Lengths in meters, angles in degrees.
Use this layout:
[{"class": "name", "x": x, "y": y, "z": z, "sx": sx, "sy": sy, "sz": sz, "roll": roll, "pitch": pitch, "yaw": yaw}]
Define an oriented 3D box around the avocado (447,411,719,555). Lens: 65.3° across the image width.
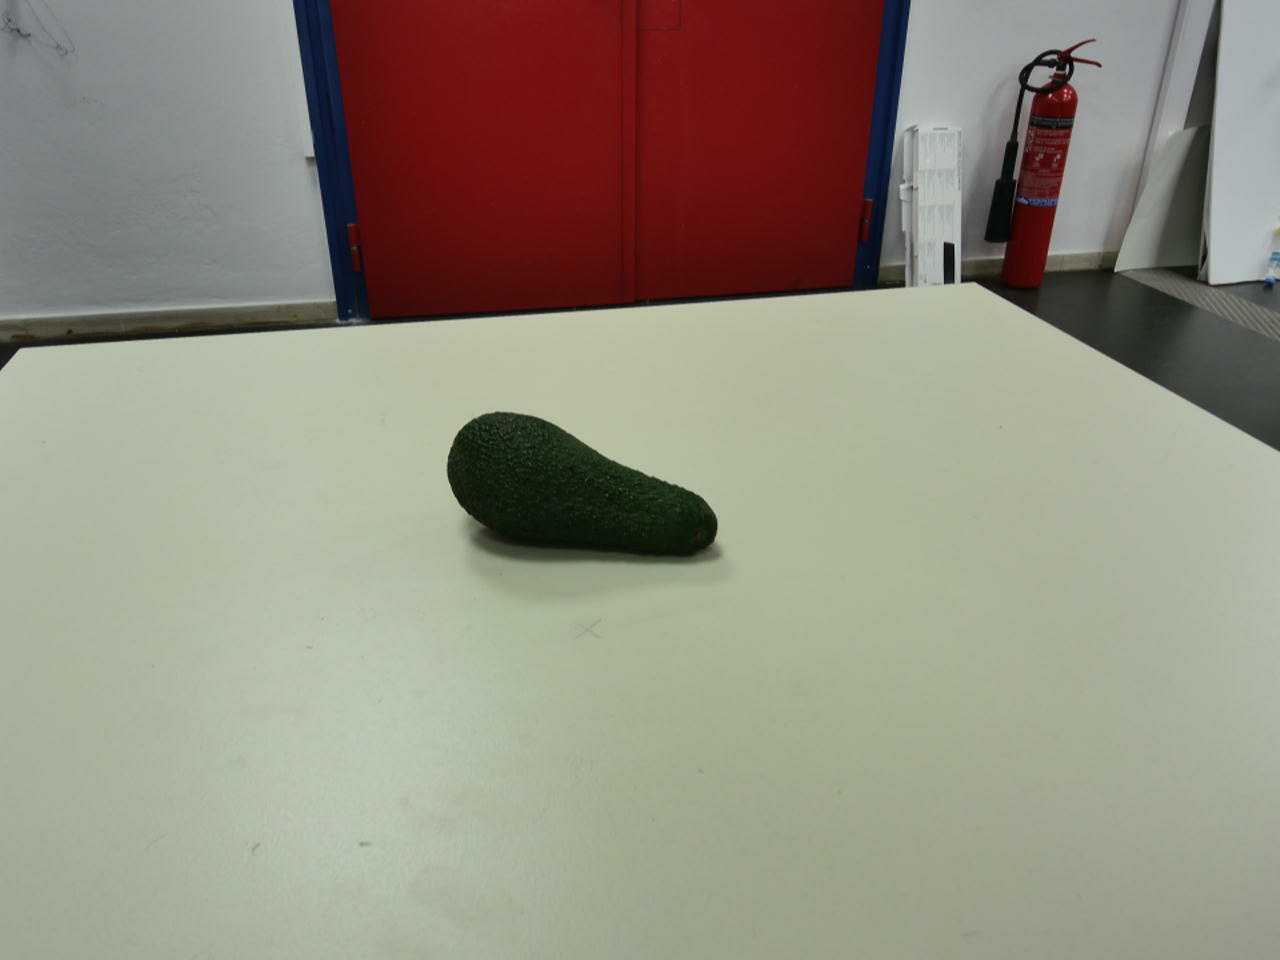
[{"class": "avocado", "x": -0.029, "y": -0.001, "z": 0.511, "sx": 0.141, "sy": 0.067, "sz": 0.063, "roll": 1, "pitch": 26, "yaw": 2}]
